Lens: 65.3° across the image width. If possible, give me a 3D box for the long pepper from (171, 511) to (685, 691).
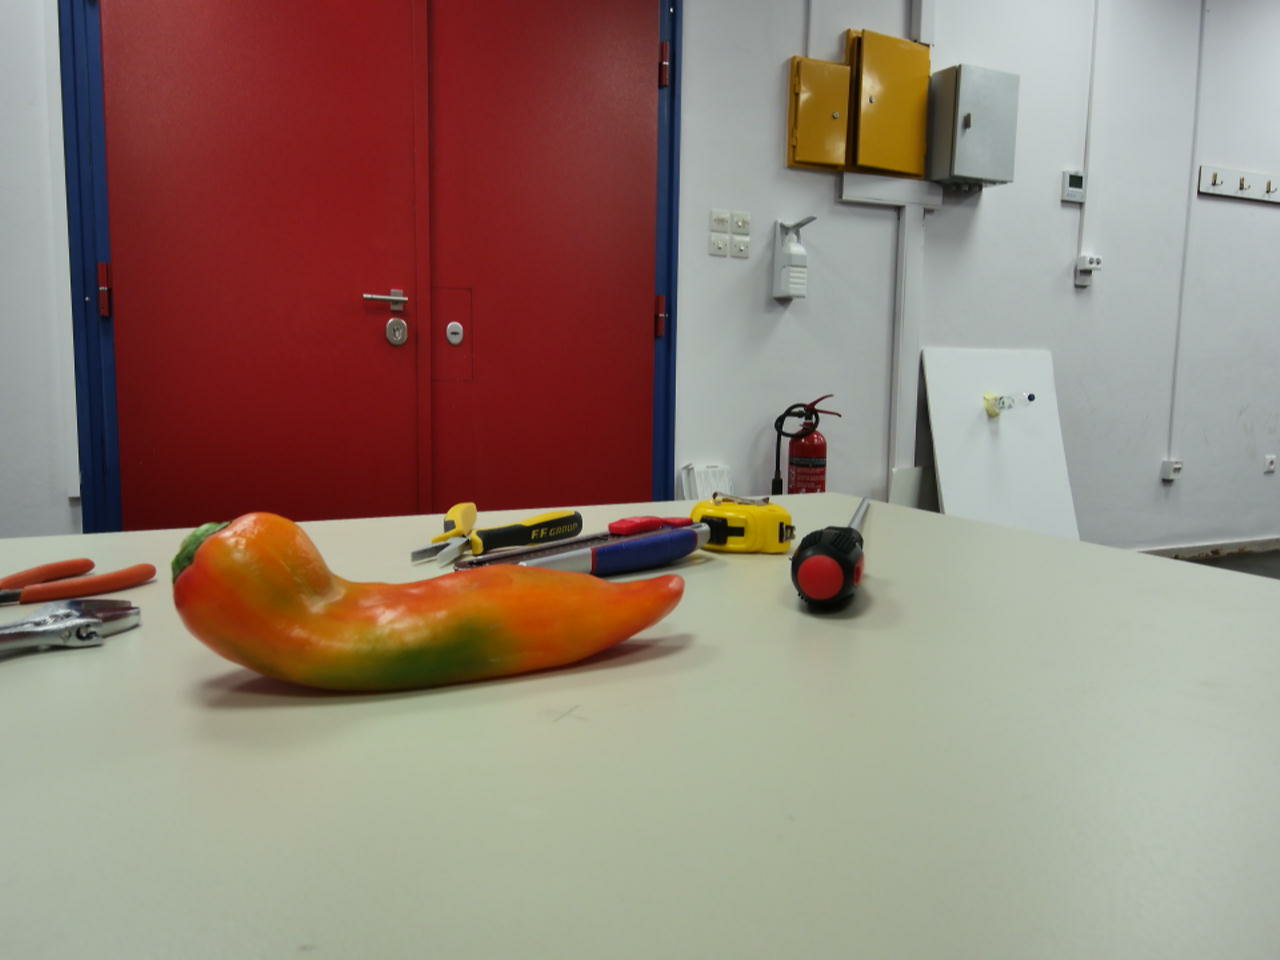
[{"bbox_3d":[-0.071,0.042,0.386,0.199,0.065,0.066,-2,4,-21],"label":"long pepper"}]
